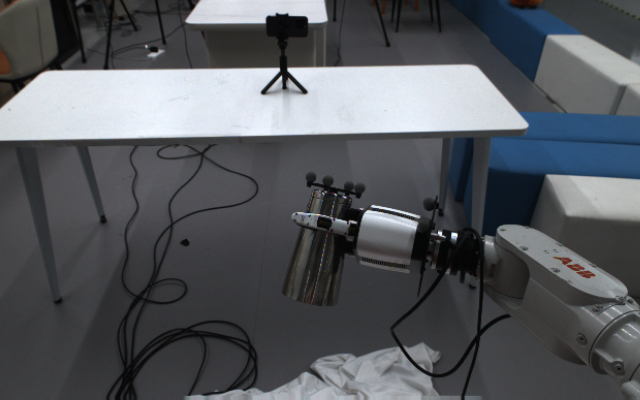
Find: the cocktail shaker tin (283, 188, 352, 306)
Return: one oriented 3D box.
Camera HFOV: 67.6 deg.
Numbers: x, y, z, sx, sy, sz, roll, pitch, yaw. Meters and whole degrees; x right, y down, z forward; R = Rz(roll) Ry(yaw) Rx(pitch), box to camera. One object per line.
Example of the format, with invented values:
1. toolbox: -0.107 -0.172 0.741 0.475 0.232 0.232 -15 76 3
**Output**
1. cocktail shaker tin: 0.004 0.070 0.773 0.093 0.170 0.093 13 1 0
